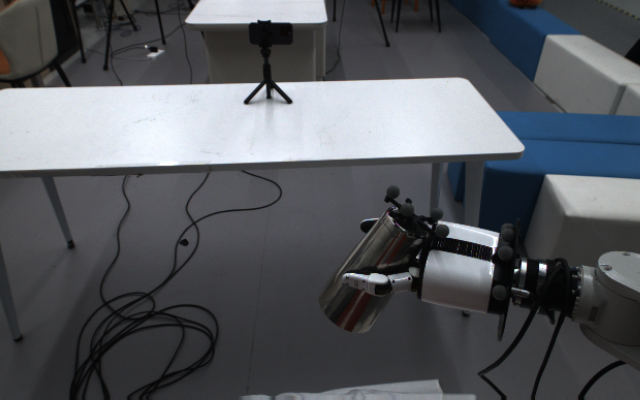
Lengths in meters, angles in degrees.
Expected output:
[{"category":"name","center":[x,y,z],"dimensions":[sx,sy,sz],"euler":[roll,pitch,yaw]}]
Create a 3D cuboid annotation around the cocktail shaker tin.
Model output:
[{"category":"cocktail shaker tin","center":[0.078,0.088,0.675],"dimensions":[0.093,0.170,0.093],"euler":[25,30,-15]}]
